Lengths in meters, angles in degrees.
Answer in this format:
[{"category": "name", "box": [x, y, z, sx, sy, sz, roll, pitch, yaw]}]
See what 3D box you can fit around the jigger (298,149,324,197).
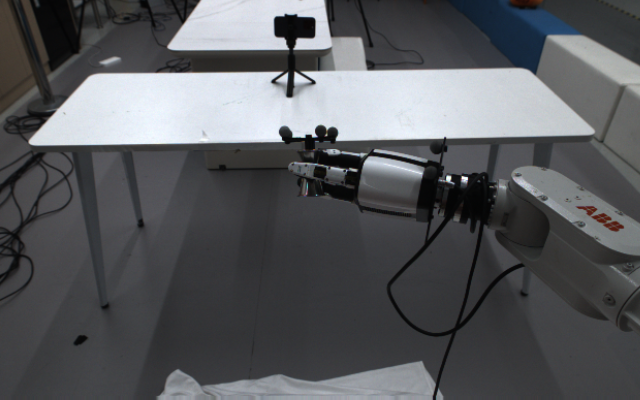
[{"category": "jigger", "box": [-0.015, -0.040, 0.722, 0.043, 0.071, 0.043, -2, 3, 0]}]
